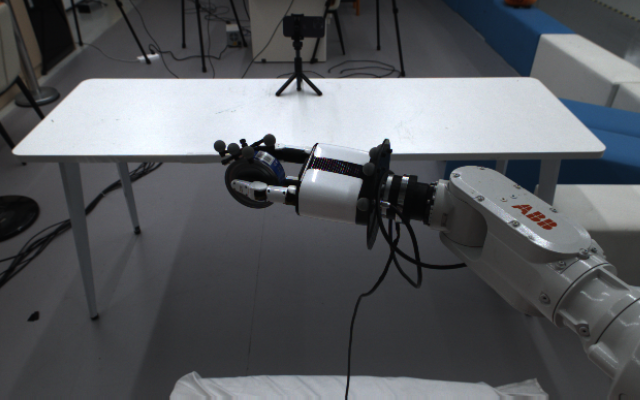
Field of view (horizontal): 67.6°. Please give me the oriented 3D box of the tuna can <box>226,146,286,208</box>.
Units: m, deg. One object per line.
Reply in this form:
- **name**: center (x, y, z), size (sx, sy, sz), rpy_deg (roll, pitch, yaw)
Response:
- **tuna can**: center (-0.090, -0.032, 0.720), size (0.085, 0.085, 0.034), rpy_deg (10, 33, 11)
